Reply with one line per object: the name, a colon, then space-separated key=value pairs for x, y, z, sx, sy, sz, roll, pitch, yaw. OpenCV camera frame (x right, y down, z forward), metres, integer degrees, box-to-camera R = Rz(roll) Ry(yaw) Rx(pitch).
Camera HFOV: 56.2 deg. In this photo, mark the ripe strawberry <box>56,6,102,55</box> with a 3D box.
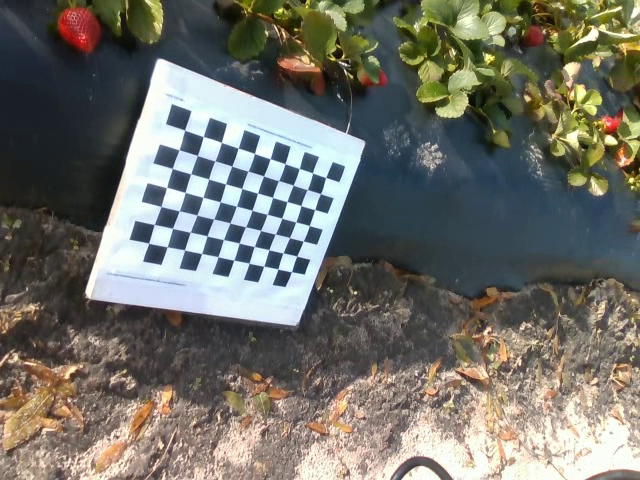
ripe strawberry: x=-0.193 y=-0.170 z=0.481 sx=0.041 sy=0.047 sz=0.041 roll=-15 pitch=-31 yaw=-18
